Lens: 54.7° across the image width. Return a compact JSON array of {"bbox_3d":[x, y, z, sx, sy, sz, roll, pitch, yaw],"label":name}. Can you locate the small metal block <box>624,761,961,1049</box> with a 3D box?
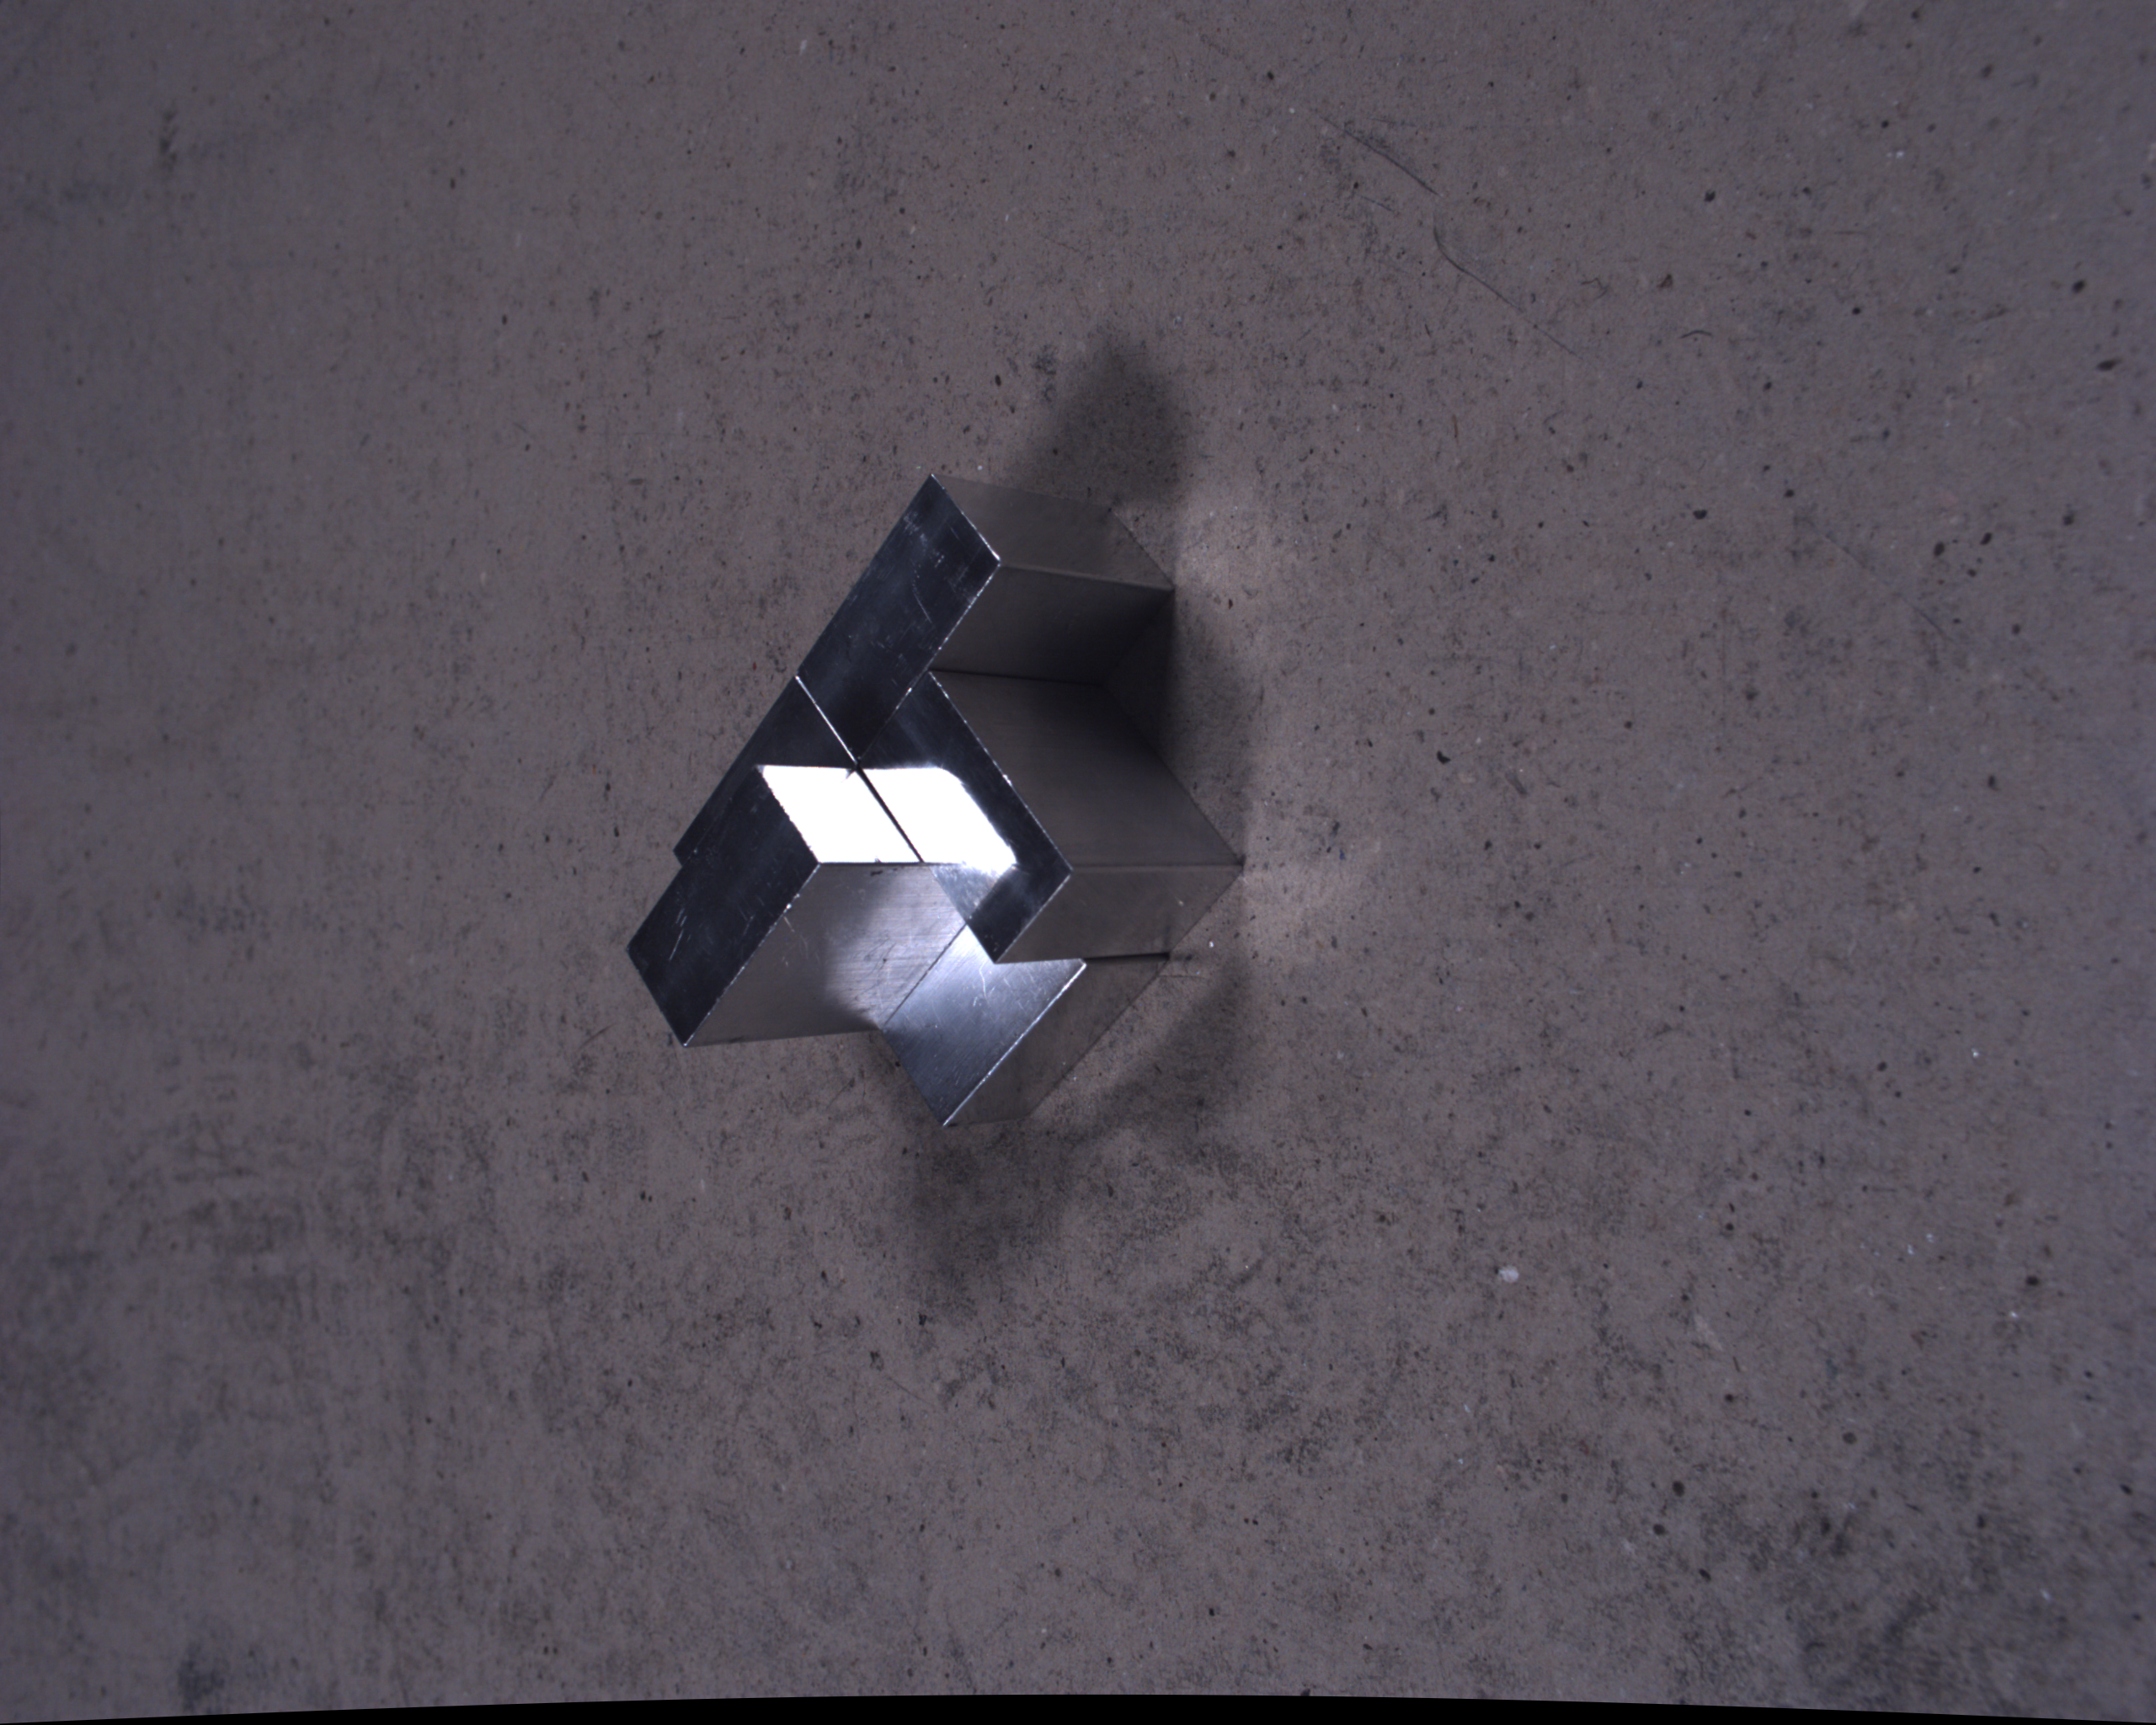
[{"bbox_3d":[-0.049,0.008,0.396,0.050,0.050,0.025,-51,60,28],"label":"small metal block"}]

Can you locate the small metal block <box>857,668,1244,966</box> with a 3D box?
[{"bbox_3d":[-0.005,-0.009,0.392,0.025,0.050,0.050,-50,61,28],"label":"small metal block"}]

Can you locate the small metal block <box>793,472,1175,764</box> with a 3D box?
[{"bbox_3d":[-0.018,-0.045,0.403,0.050,0.050,0.025,-51,60,28],"label":"small metal block"}]

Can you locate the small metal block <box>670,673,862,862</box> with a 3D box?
[{"bbox_3d":[-0.046,-0.010,0.425,0.050,0.050,0.025,-51,60,28],"label":"small metal block"}]

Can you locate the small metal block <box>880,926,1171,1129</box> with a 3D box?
[{"bbox_3d":[-0.017,0.017,0.419,0.050,0.025,0.050,-50,61,28],"label":"small metal block"}]
